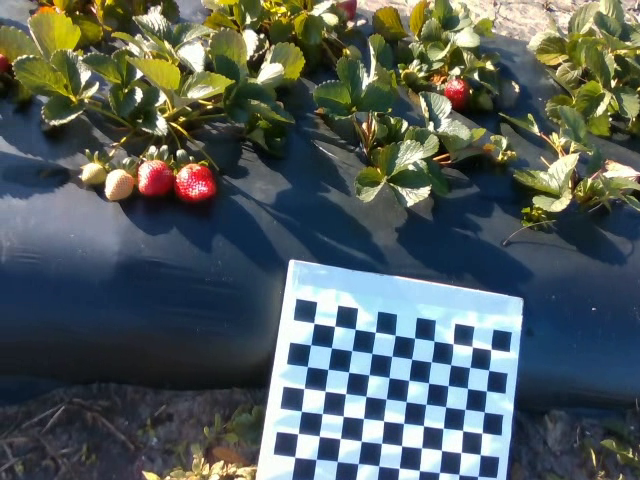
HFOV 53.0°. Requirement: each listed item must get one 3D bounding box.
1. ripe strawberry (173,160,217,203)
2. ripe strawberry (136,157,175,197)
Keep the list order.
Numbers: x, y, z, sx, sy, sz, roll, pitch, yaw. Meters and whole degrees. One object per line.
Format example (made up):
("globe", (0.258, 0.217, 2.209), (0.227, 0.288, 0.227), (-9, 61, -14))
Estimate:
("ripe strawberry", (-0.139, -0.063, 0.733), (0.056, 0.052, 0.067), (-42, 42, -13))
("ripe strawberry", (-0.193, -0.069, 0.726), (0.050, 0.044, 0.061), (34, 34, -11))
